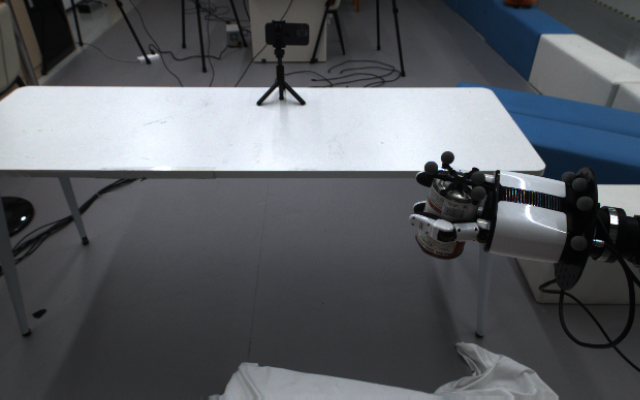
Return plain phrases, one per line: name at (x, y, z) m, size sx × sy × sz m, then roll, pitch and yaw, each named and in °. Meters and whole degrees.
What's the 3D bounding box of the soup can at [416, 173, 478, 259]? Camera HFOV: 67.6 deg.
soup can at (0.175, 0.020, 0.655) m, size 0.067 × 0.101 × 0.067 m, roll 5°, pitch 36°, yaw -4°
